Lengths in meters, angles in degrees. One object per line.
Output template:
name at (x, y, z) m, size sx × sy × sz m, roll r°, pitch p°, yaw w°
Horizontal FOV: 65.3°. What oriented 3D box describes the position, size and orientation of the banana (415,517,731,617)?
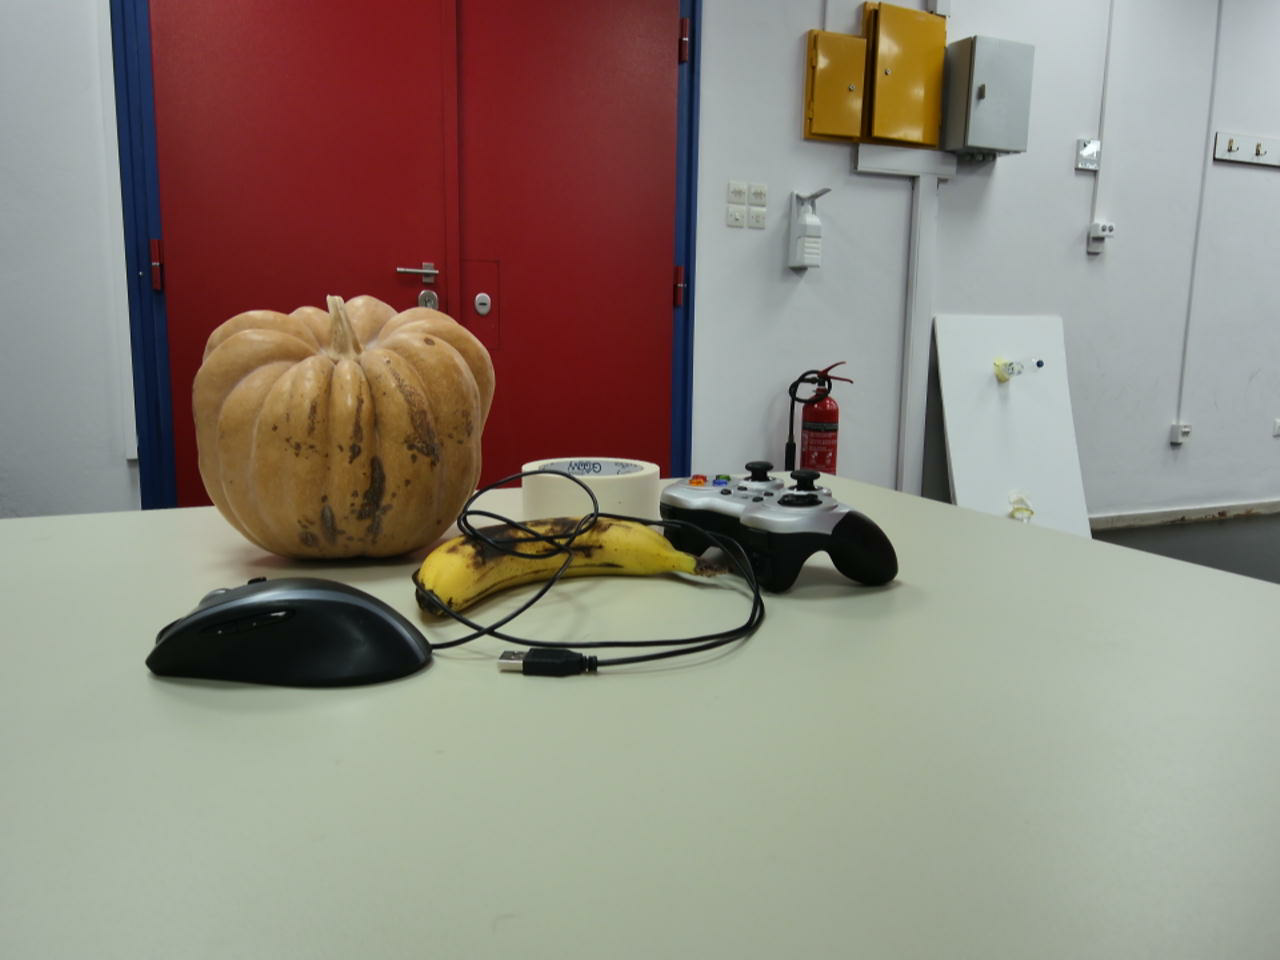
banana at (-0.051, 0.047, 0.597) m, size 0.187 × 0.039 × 0.094 m, roll -4°, pitch 8°, yaw -27°
